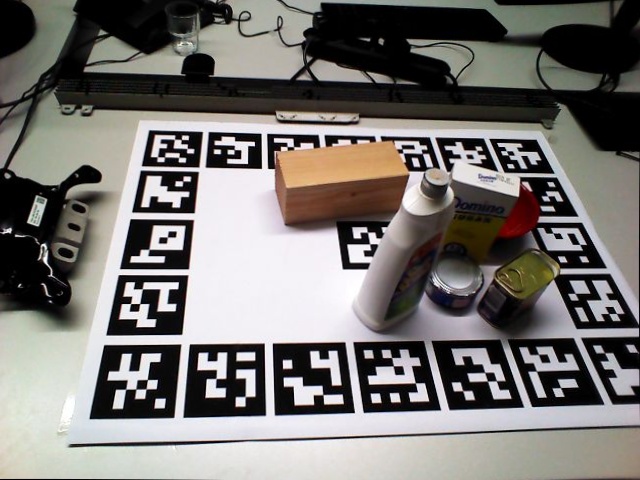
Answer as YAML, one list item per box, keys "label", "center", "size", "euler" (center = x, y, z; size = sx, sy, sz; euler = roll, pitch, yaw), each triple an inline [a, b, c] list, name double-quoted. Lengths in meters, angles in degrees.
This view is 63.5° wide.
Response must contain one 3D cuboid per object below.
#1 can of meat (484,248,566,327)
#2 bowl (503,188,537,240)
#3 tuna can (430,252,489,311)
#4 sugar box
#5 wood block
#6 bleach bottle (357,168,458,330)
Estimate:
- label: "can of meat"
  center: [0.291, 0.068, 0.744]
  size: [0.101, 0.084, 0.058]
  euler: [-25, 53, -26]
- label: "bowl"
  center: [0.294, -0.053, 0.863]
  size: [0.162, 0.055, 0.160]
  euler: [0, 49, -1]
- label: "tuna can"
  center: [0.202, 0.061, 0.766]
  size: [0.086, 0.034, 0.085]
  euler: [2, 52, -3]
- label: "sugar box"
  center: [0.226, -0.031, 0.754]
  size: [0.093, 0.177, 0.045]
  euler: [14, 51, 10]
- label: "wood block"
  center: [0.034, -0.095, 0.855]
  size: [0.206, 0.090, 0.090]
  euler: [-7, 55, -13]
- label: "bleach bottle"
  center: [0.113, 0.011, 0.661]
  size: [0.102, 0.252, 0.068]
  euler: [-21, 54, -22]
